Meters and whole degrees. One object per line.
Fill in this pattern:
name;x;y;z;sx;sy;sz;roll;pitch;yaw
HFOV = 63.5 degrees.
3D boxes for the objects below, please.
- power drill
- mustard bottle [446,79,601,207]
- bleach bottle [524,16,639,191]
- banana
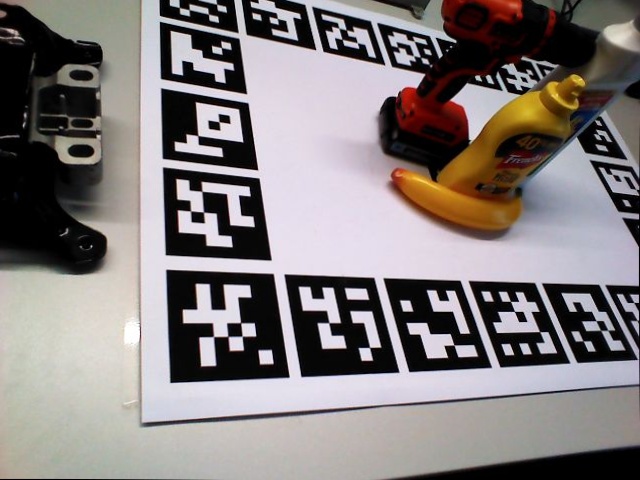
power drill;0.198;-0.183;0.594;0.184;0.188;0.057;16;54;-18
mustard bottle;0.237;-0.108;0.592;0.096;0.193;0.058;5;59;-24
bleach bottle;0.303;-0.165;0.628;0.102;0.252;0.067;7;52;-22
banana;0.191;-0.042;0.637;0.197;0.039;0.074;7;59;-19
